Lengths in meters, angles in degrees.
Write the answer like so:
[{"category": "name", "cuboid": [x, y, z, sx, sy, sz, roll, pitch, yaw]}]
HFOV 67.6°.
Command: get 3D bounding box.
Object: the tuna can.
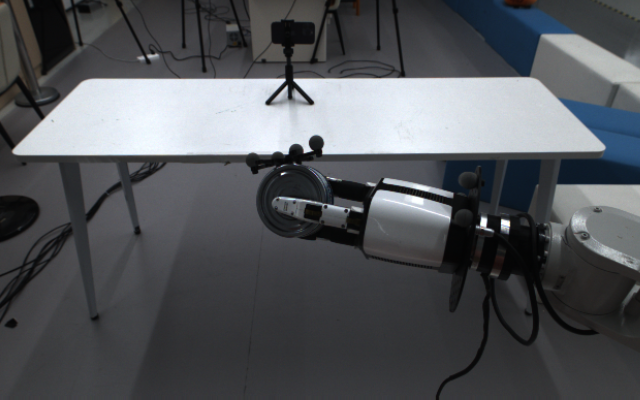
[{"category": "tuna can", "cuboid": [-0.025, 0.006, 0.556, 0.085, 0.085, 0.034, 12, 3, 14]}]
